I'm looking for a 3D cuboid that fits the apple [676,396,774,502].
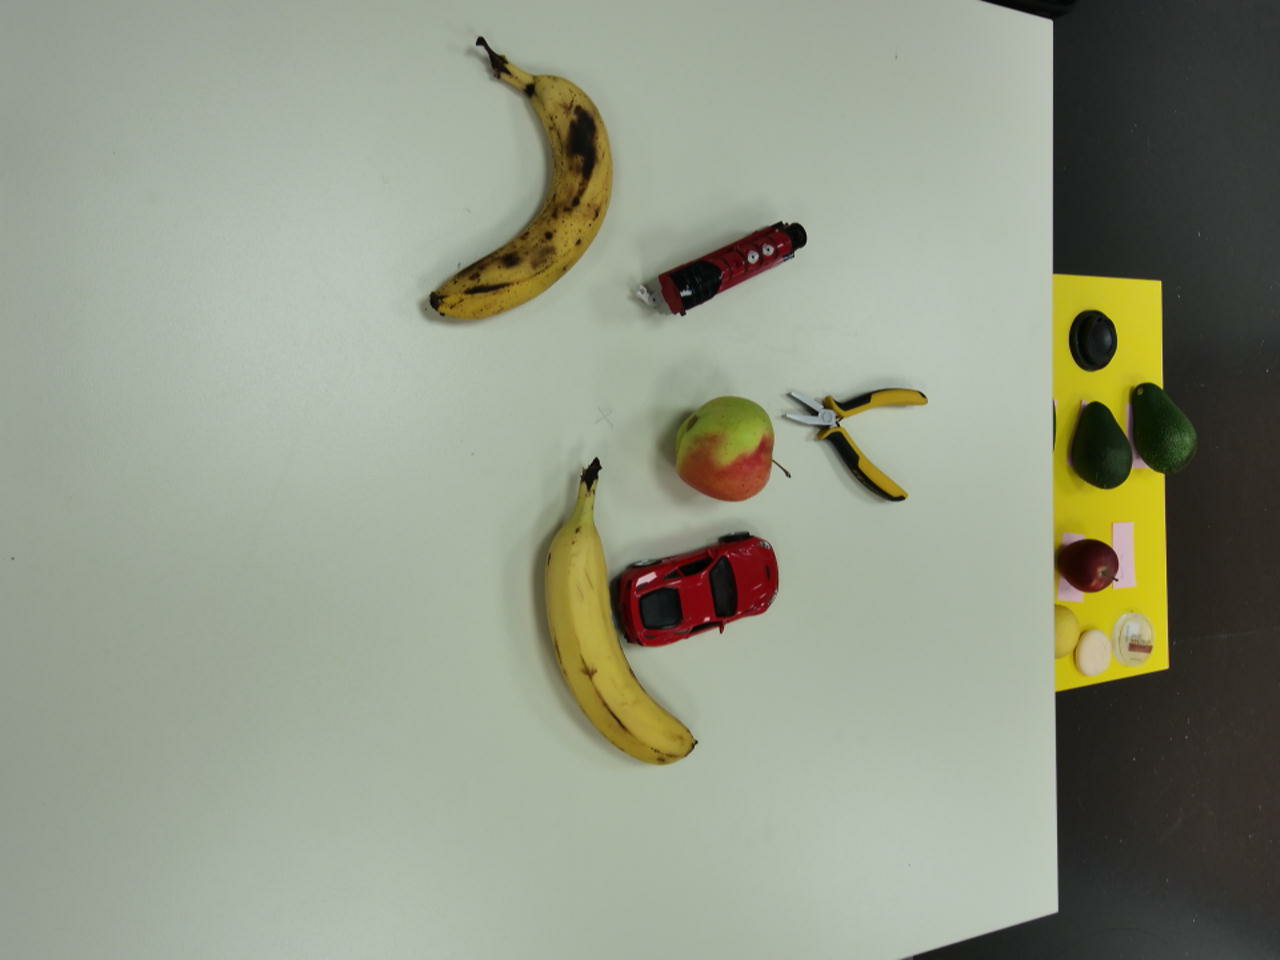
[{"bbox_3d":[0.062,-0.021,0.716,0.075,0.074,0.075,-22,101,-27],"label":"apple"}]
